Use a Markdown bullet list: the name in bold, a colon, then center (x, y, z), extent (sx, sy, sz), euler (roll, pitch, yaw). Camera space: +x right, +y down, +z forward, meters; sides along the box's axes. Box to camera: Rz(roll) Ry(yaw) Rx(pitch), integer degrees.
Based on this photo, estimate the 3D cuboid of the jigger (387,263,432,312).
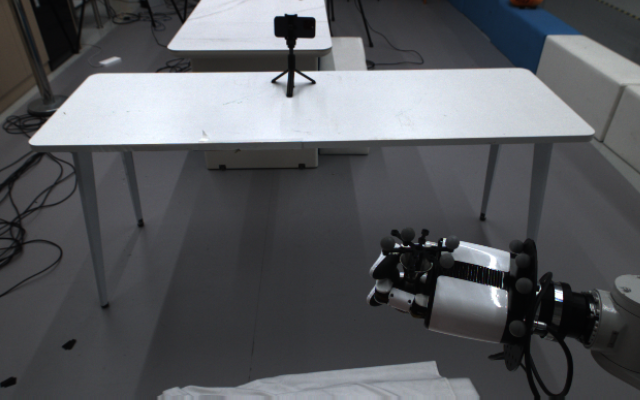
- **jigger**: center (0.118, 0.101, 0.612), extent (0.043, 0.071, 0.043), euler (4, 31, -2)
